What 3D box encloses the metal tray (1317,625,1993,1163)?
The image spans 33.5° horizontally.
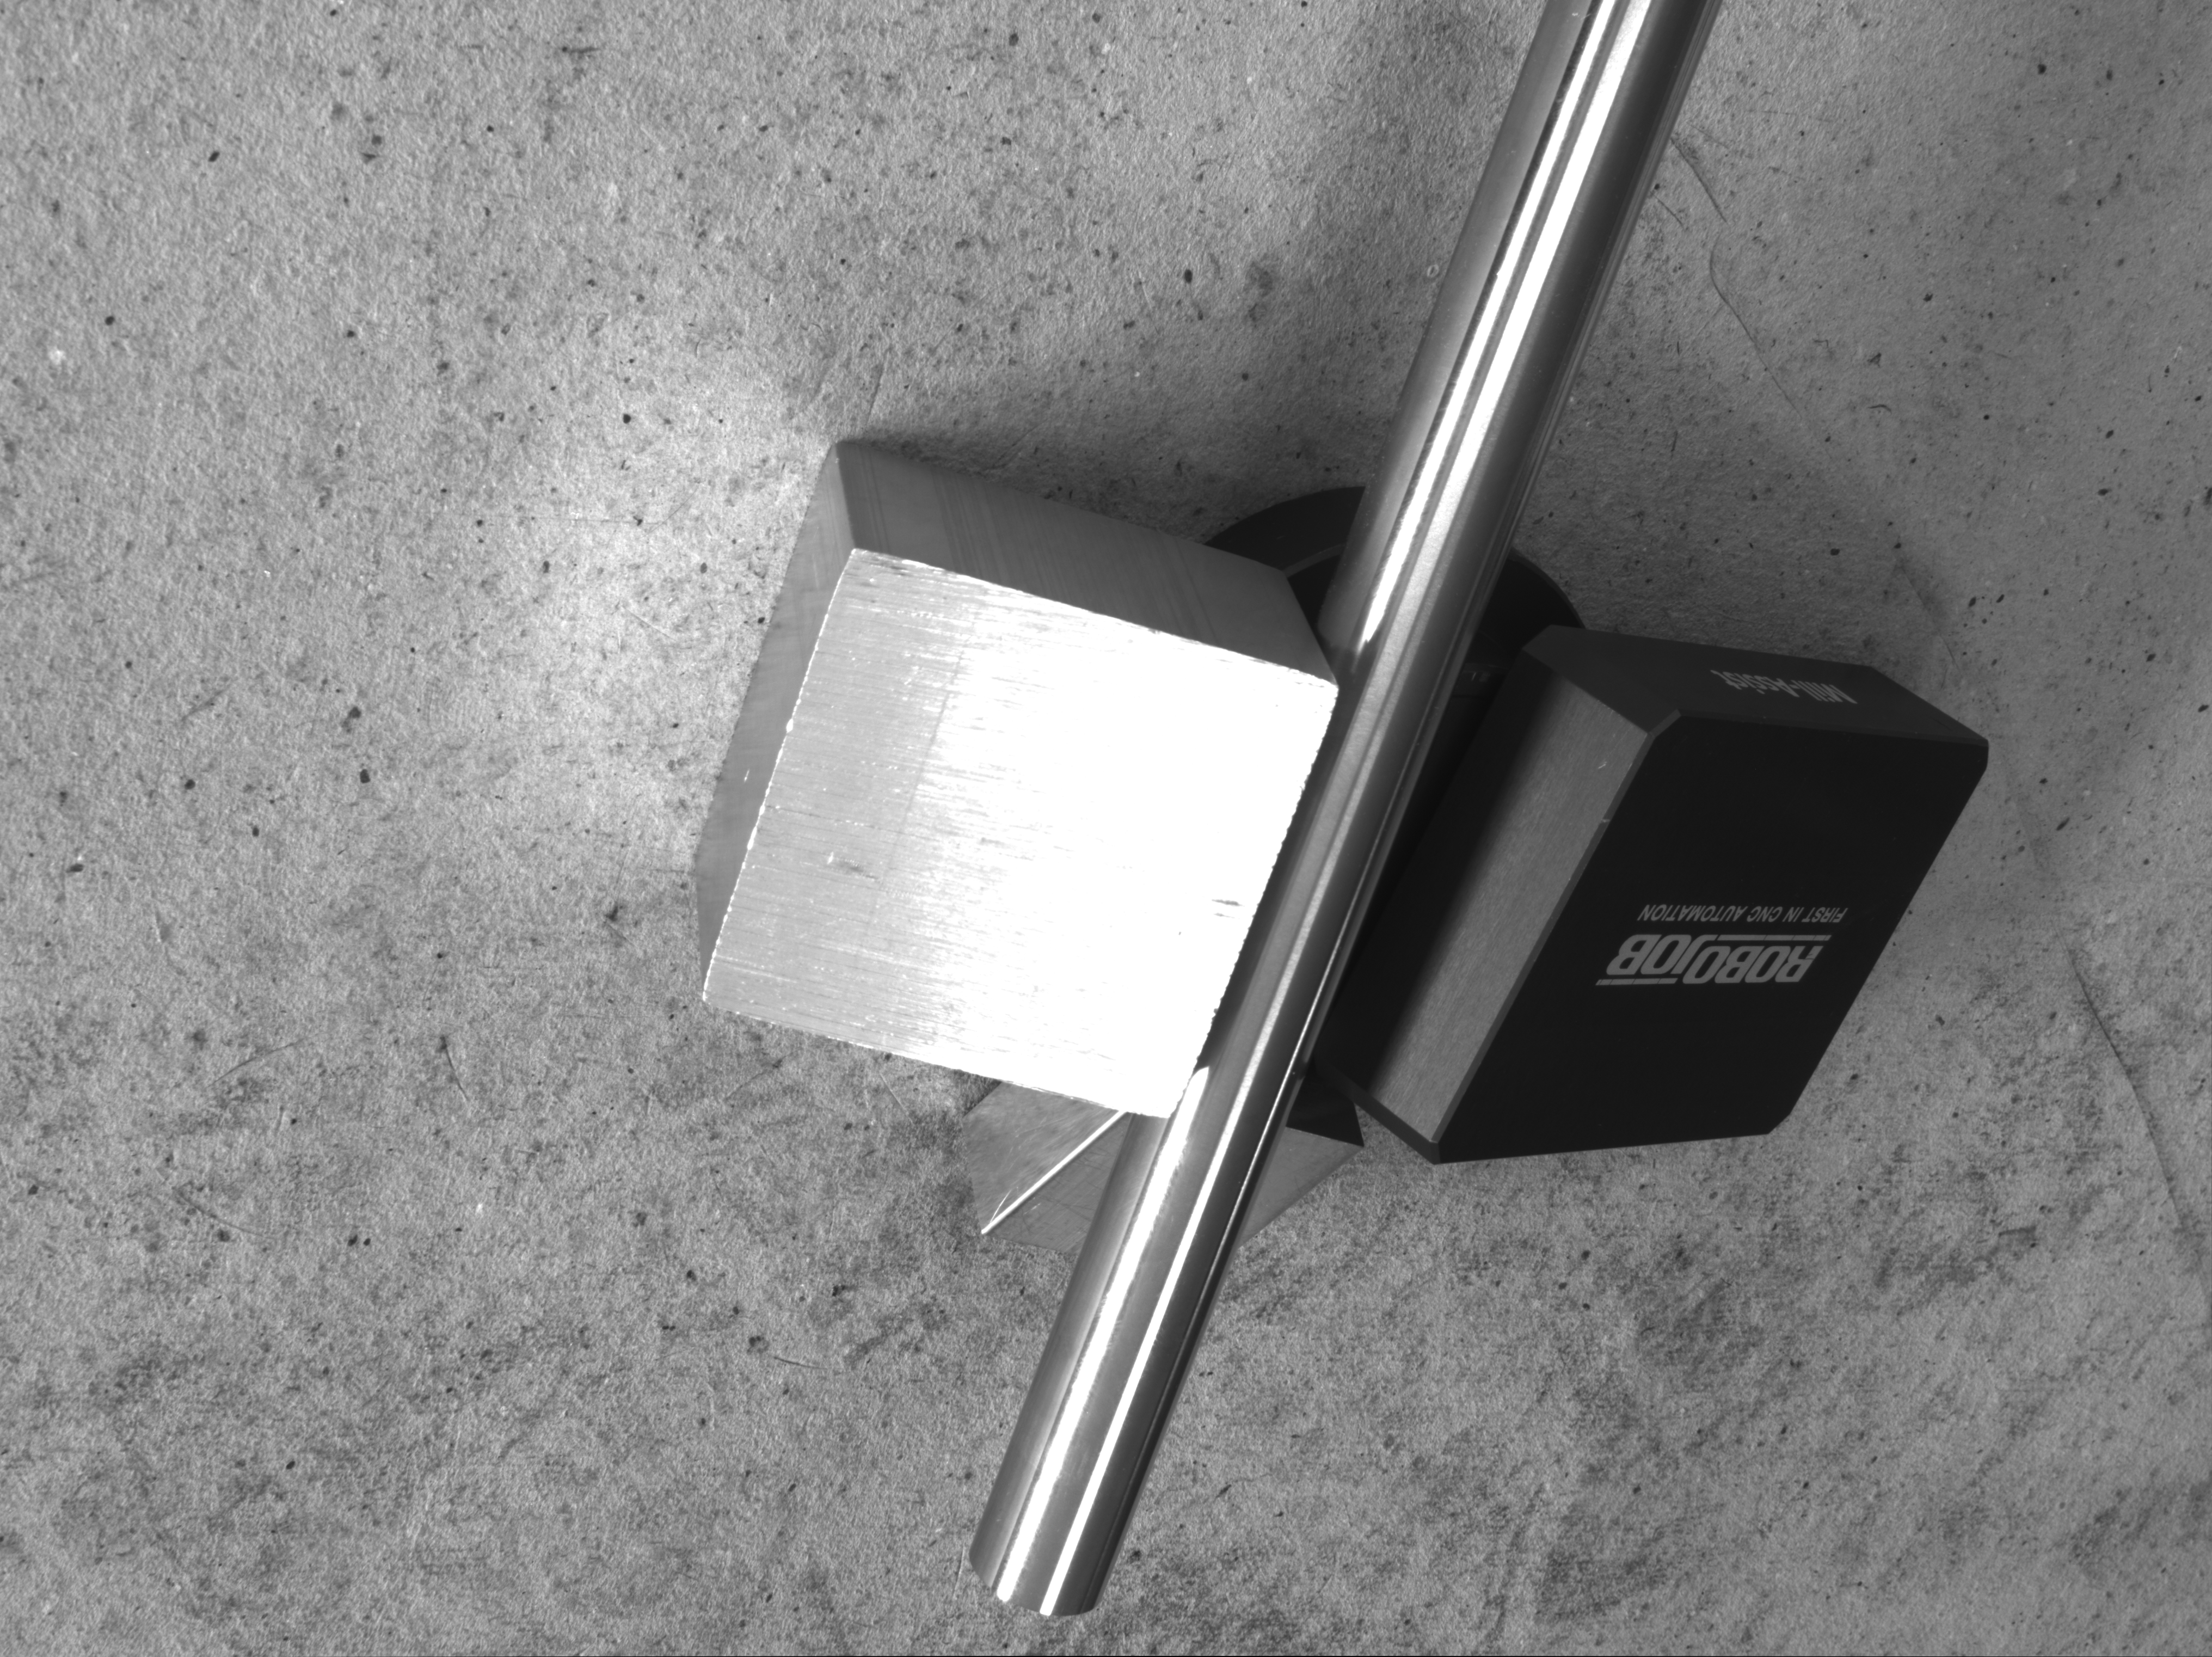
[{"bbox_3d":[0.102,0.013,0.669,0.130,0.030,0.090,2,120,-52],"label":"metal tray"}]

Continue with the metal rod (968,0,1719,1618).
[{"bbox_3d":[0.035,-0.001,0.602,0.025,0.025,0.300,8,112,-31],"label":"metal rod"}]

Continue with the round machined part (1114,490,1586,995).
[{"bbox_3d":[0.046,-0.007,0.647,0.098,0.042,0.098,-13,124,-21],"label":"round machined part"}]

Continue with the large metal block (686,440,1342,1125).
[{"bbox_3d":[-0.017,-0.007,0.594,0.080,0.050,0.080,15,111,-15],"label":"large metal block"}]

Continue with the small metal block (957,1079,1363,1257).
[{"bbox_3d":[0.009,0.055,0.664,0.050,0.025,0.050,17,135,-34],"label":"small metal block"}]
